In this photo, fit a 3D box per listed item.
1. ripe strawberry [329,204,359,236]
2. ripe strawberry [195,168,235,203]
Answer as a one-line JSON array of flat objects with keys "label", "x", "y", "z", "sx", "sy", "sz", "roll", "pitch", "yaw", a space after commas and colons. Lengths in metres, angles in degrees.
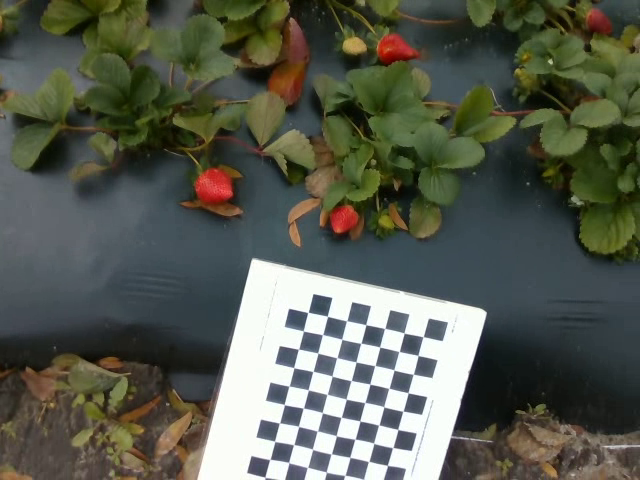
[{"label": "ripe strawberry", "x": 0.027, "y": -0.021, "z": 0.596, "sx": 0.040, "sy": 0.042, "sz": 0.037, "roll": 24, "pitch": -43, "yaw": -5}, {"label": "ripe strawberry", "x": -0.121, "y": -0.062, "z": 0.586, "sx": 0.042, "sy": 0.047, "sz": 0.065, "roll": 11, "pitch": 11, "yaw": -42}]
